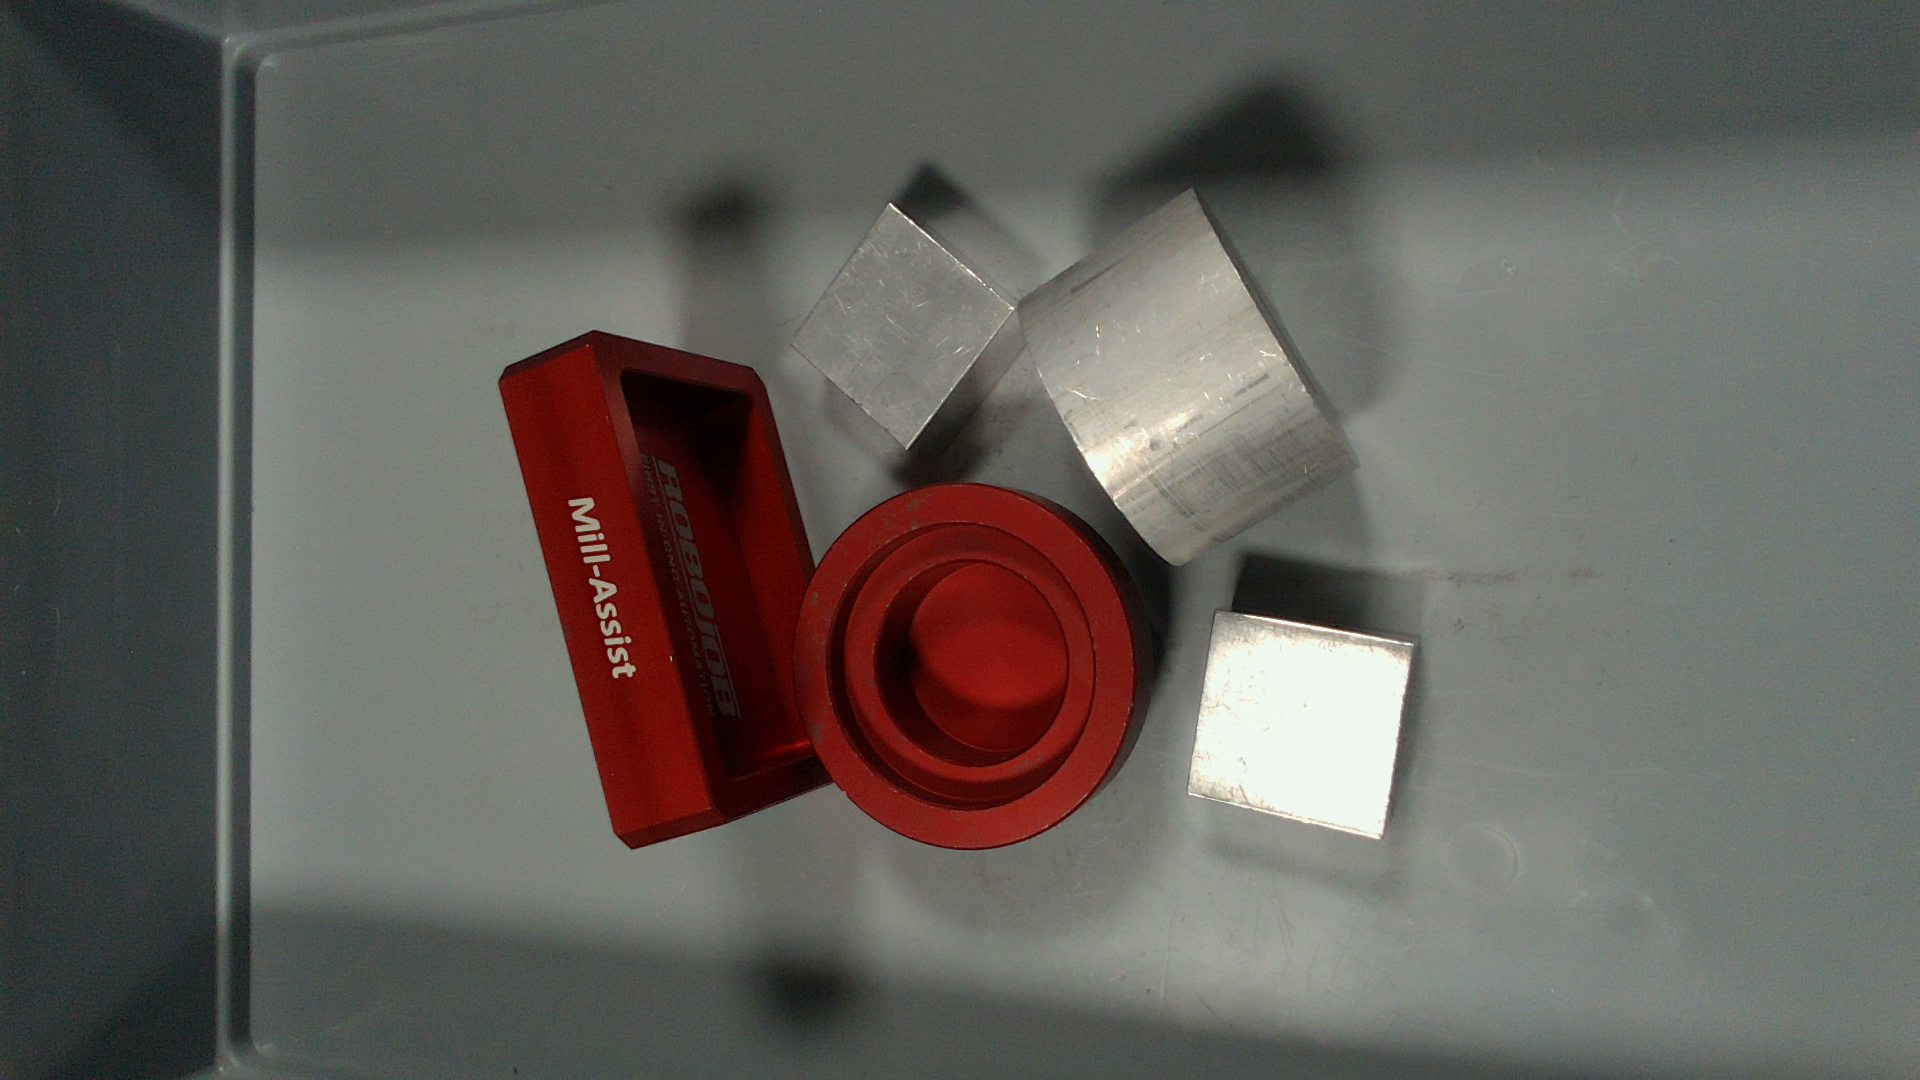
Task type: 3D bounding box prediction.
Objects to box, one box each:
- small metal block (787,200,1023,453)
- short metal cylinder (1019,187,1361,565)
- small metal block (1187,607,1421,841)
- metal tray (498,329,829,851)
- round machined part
[{"bbox_3d":[-0.013,-0.061,0.399,0.050,0.025,0.050,42,104,16],"label":"small metal block"},{"bbox_3d":[0.058,-0.040,0.345,0.050,0.080,0.080,-31,80,18],"label":"short metal cylinder"},{"bbox_3d":[0.091,0.046,0.362,0.050,0.025,0.050,10,93,21],"label":"small metal block"},{"bbox_3d":[-0.074,0.012,0.387,0.030,0.090,0.130,-18,84,20],"label":"metal tray"},{"bbox_3d":[0.006,0.033,0.382,0.098,0.042,0.098,0,90,20],"label":"round machined part"}]
